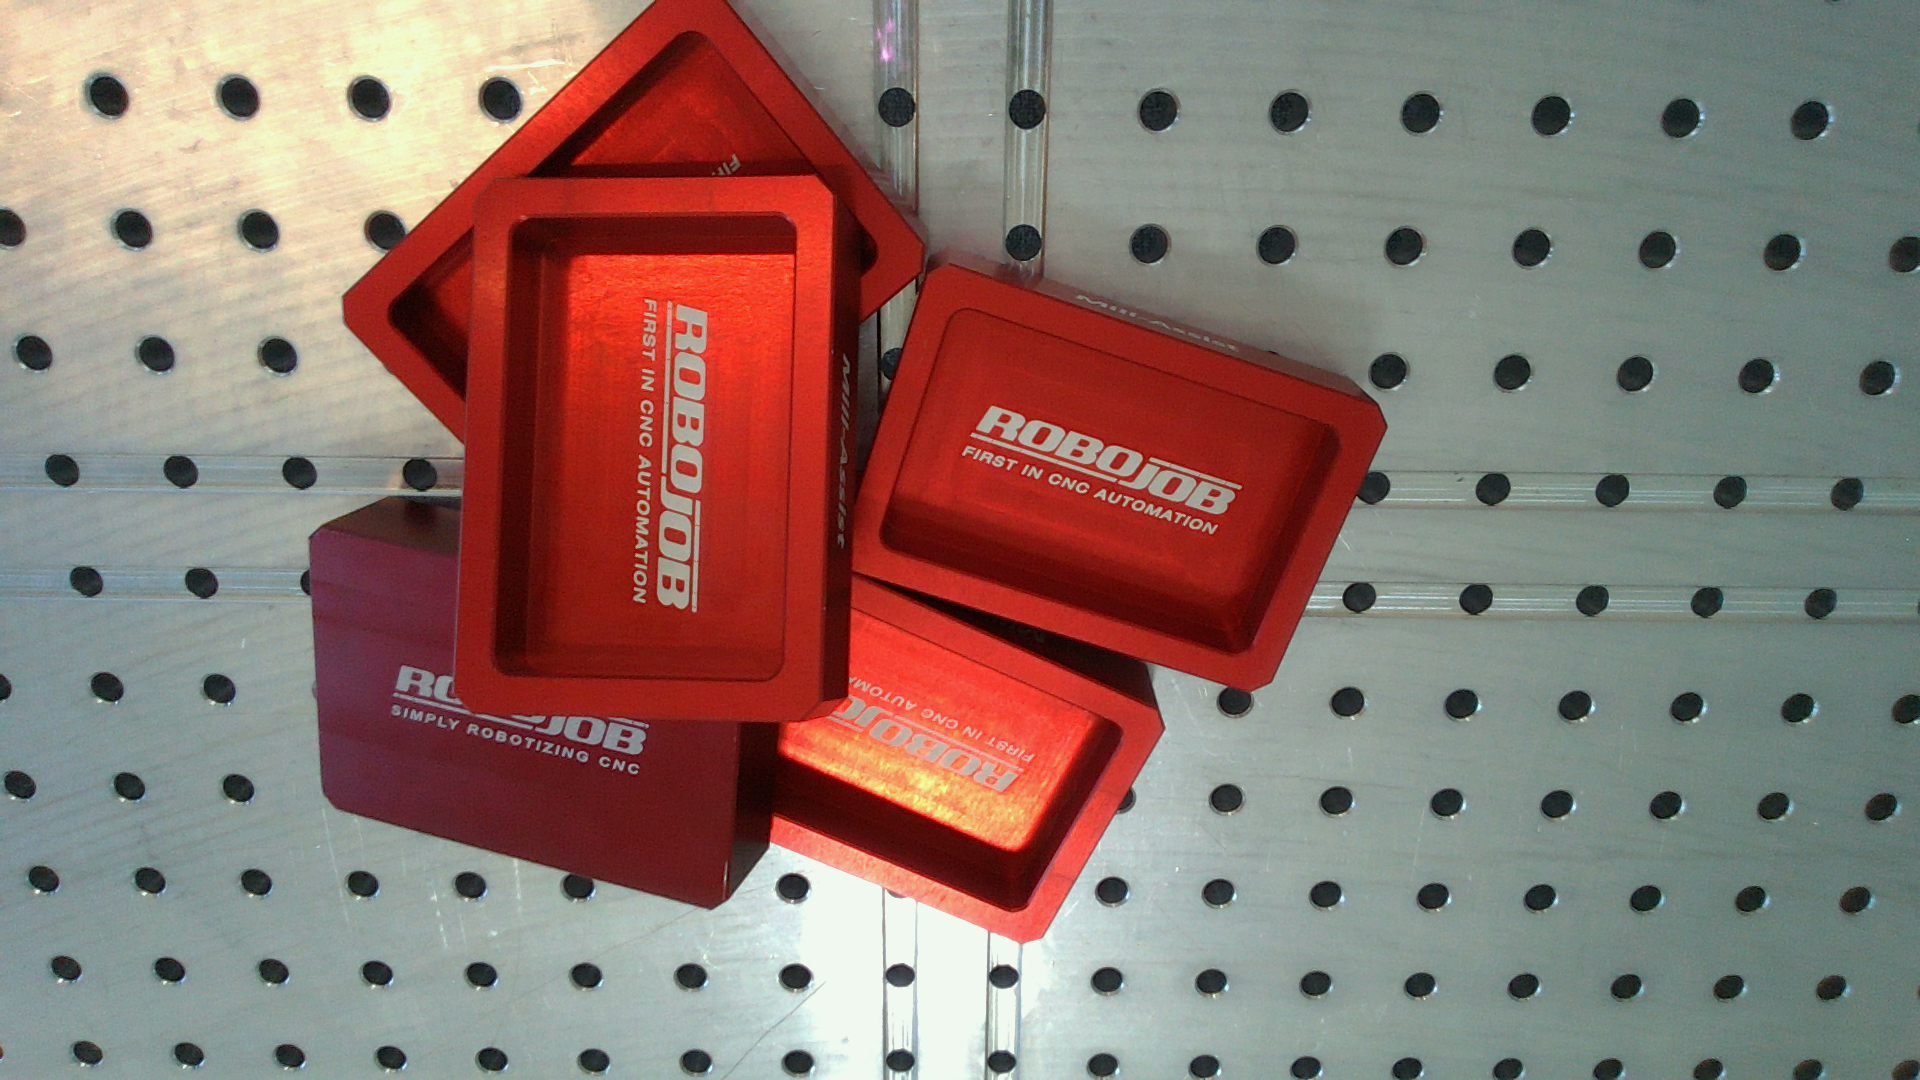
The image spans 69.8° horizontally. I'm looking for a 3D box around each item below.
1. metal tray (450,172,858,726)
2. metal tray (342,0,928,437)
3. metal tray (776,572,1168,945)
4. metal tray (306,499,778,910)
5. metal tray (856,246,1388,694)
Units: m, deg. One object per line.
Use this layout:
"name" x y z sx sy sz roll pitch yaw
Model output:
"metal tray" -0.074 -0.022 0.340 0.090 0.030 0.130 1 86 7
"metal tray" -0.084 -0.070 0.366 0.130 0.030 0.090 -38 105 13
"metal tray" -0.015 0.058 0.414 0.130 0.030 0.090 24 109 -9
"metal tray" -0.118 0.045 0.392 0.130 0.030 0.090 11 111 11
"metal tray" 0.040 -0.018 0.386 0.130 0.030 0.090 17 110 -7
